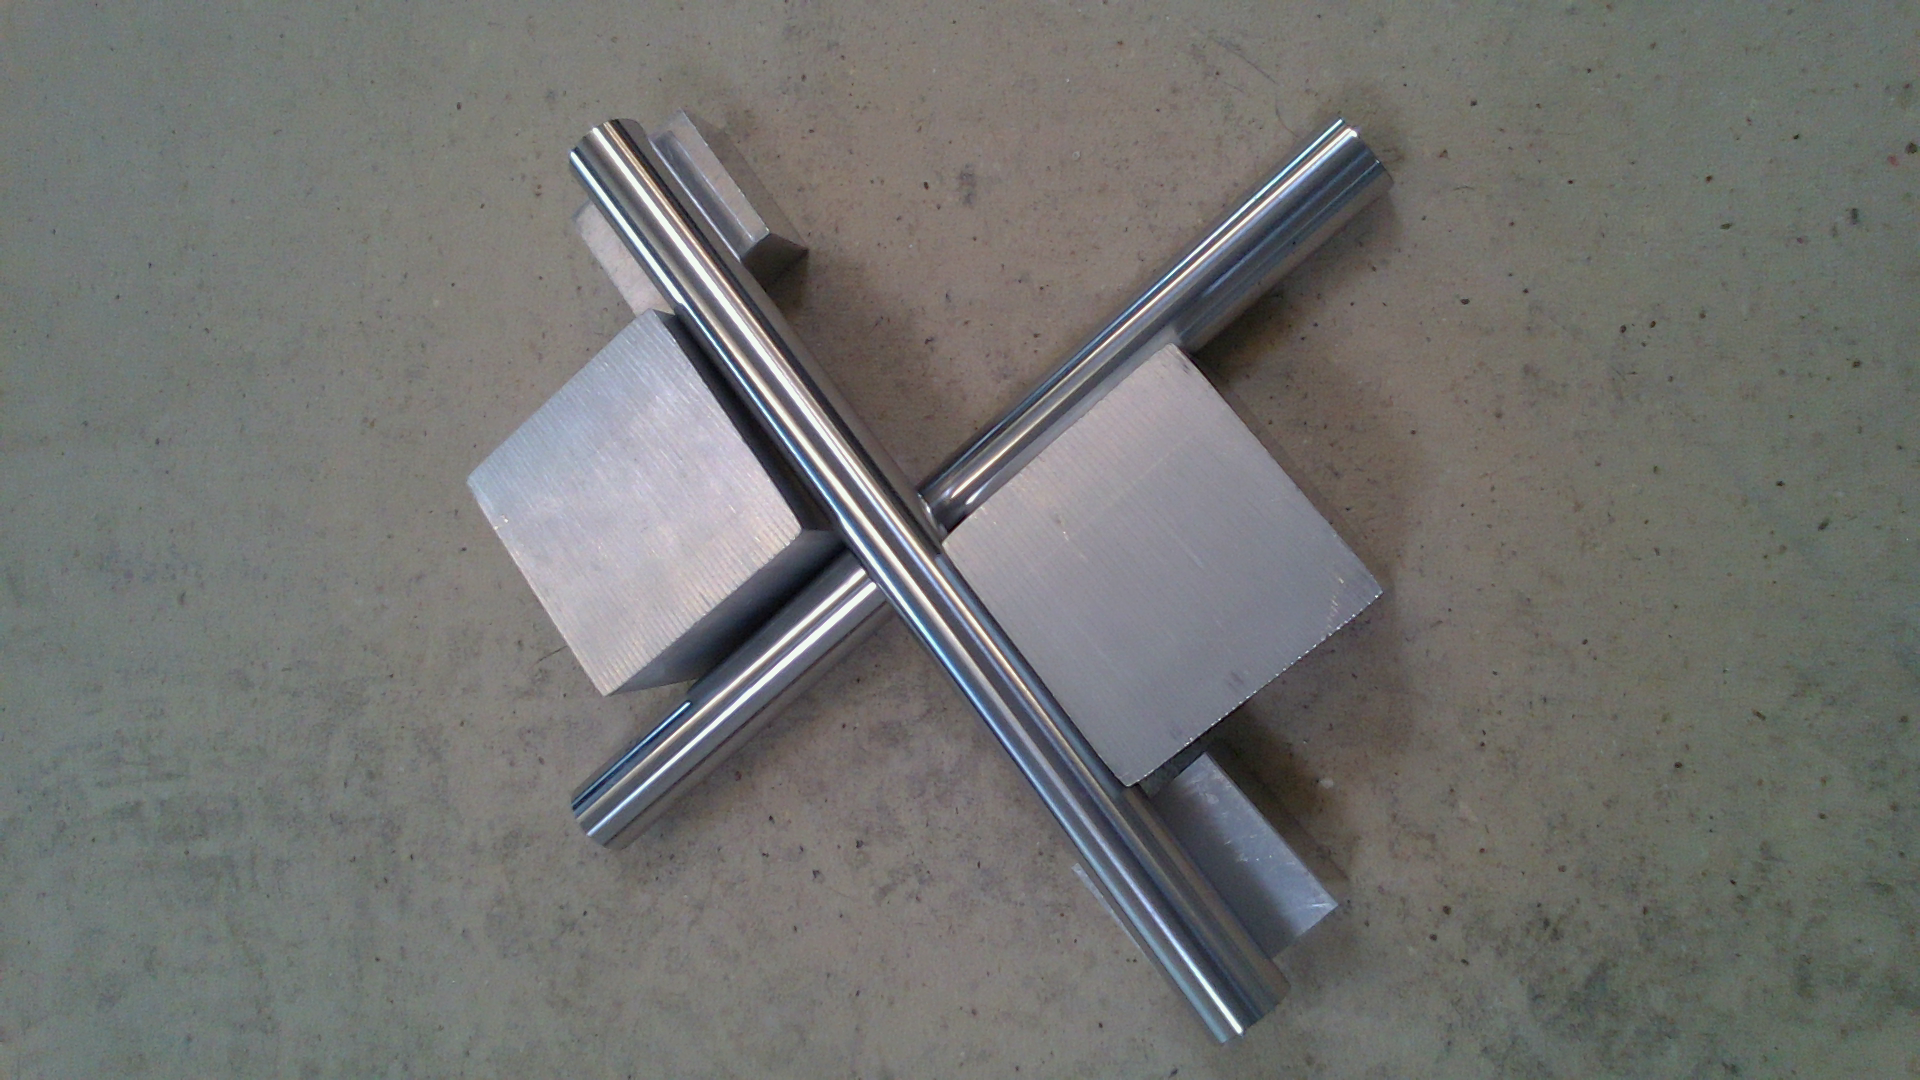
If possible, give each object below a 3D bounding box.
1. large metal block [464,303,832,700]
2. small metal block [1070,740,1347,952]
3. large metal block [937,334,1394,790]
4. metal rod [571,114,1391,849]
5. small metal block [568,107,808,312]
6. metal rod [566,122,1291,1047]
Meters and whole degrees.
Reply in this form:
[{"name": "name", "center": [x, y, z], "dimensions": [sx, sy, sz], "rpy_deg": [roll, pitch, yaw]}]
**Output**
[{"name": "large metal block", "center": [-0.086, -0.010, 0.412], "dimensions": [0.080, 0.050, 0.080], "rpy_deg": [-39, 78, 16]}, {"name": "small metal block", "center": [0.067, 0.091, 0.373], "dimensions": [0.050, 0.025, 0.050], "rpy_deg": [-45, 76, 14]}, {"name": "large metal block", "center": [0.056, 0.006, 0.363], "dimensions": [0.080, 0.050, 0.080], "rpy_deg": [-41, 77, 15]}, {"name": "metal rod", "center": [-0.005, -0.007, 0.399], "dimensions": [0.299, 0.025, 0.025], "rpy_deg": [-41, 77, 15]}, {"name": "small metal block", "center": [-0.084, -0.095, 0.427], "dimensions": [0.050, 0.025, 0.050], "rpy_deg": [-39, 78, 16]}, {"name": "metal rod", "center": [-0.016, 0.002, 0.375], "dimensions": [0.025, 0.025, 0.300], "rpy_deg": [-41, 77, 15]}]
